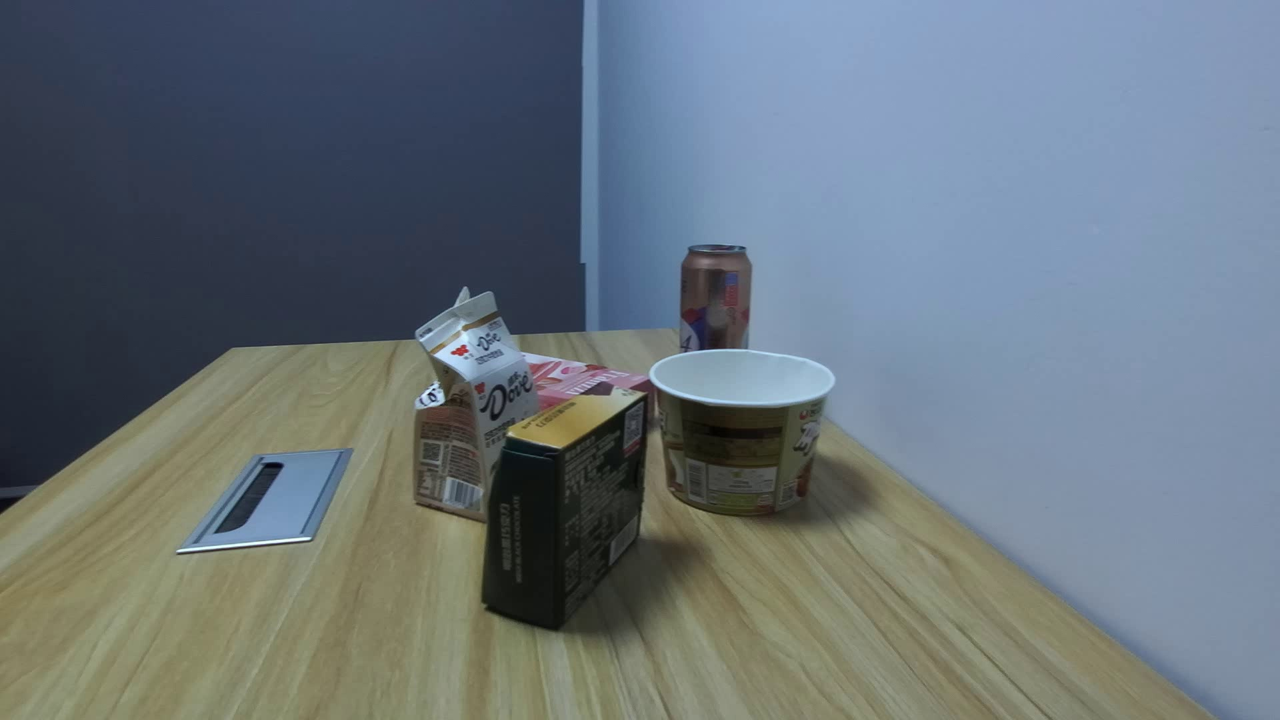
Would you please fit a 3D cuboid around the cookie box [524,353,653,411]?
[{"bbox_3d":[-0.092,0.036,0.693,0.186,0.049,0.105,9,19,30],"label":"cookie box"}]

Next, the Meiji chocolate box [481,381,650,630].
[{"bbox_3d":[-0.040,0.081,0.420,0.051,0.117,0.117,15,21,21],"label":"Meiji chocolate box"}]

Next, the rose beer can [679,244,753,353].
[{"bbox_3d":[0.072,-0.021,0.675,0.068,0.169,0.068,0,14,0],"label":"rose beer can"}]

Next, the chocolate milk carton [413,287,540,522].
[{"bbox_3d":[-0.123,0.028,0.523,0.073,0.155,0.076,7,19,25],"label":"chocolate milk carton"}]

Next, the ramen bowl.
[{"bbox_3d":[0.076,0.053,0.541,0.140,0.095,0.140,-1,16,0],"label":"ramen bowl"}]
